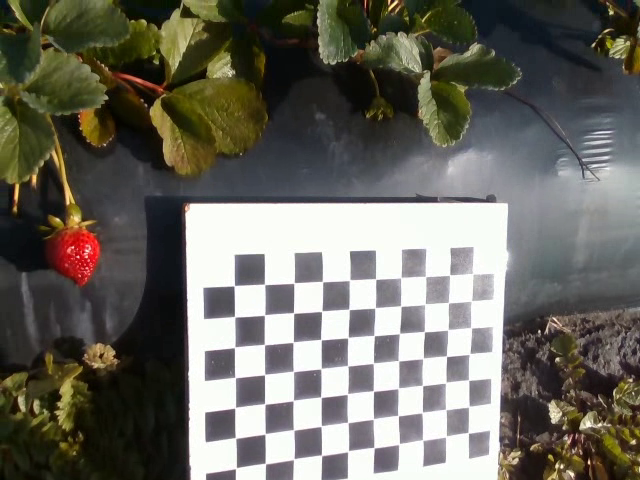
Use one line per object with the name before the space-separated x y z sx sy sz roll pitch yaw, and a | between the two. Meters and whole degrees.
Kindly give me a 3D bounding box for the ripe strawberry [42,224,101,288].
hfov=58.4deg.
ripe strawberry | -0.165 0.013 0.384 0.040 0.044 0.036 -21 -2 -16
